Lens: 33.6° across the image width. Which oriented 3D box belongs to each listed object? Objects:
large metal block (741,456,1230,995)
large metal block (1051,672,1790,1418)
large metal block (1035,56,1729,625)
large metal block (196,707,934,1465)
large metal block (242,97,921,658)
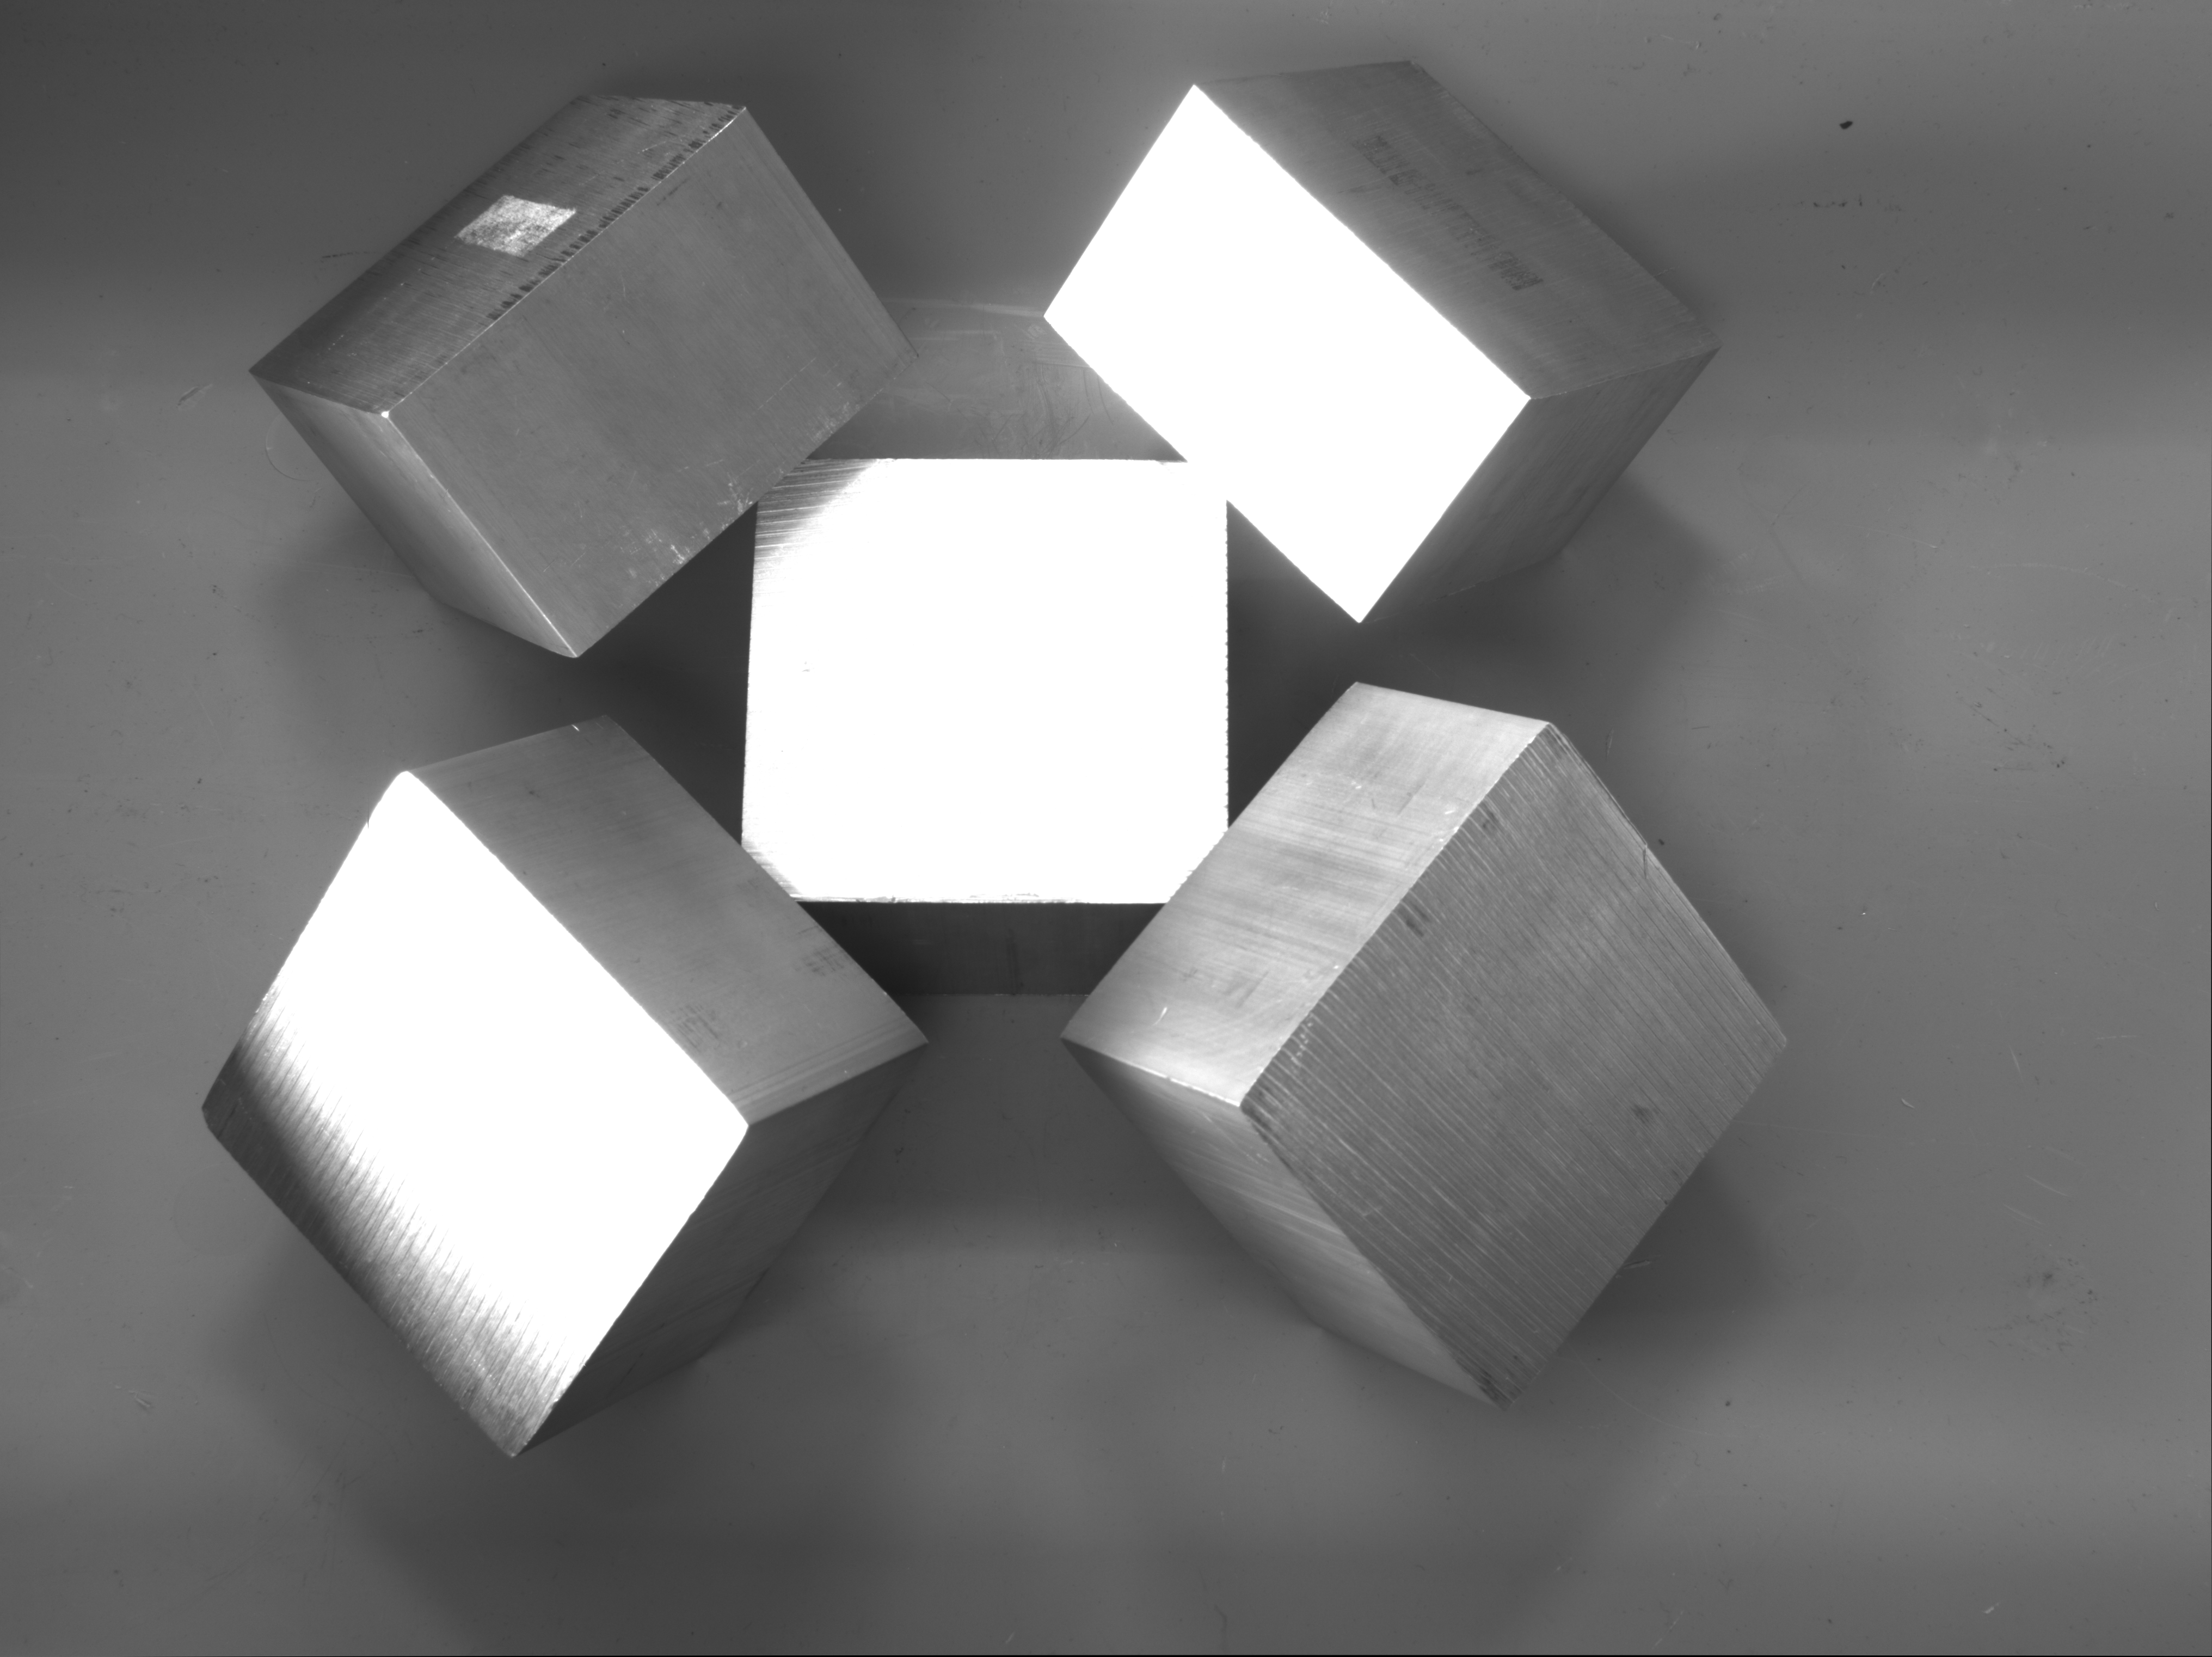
[{"bbox_3d":[-0.019,-0.017,0.635,0.080,0.050,0.080,1,70,0],"label":"large metal block"},{"bbox_3d":[0.052,0.034,0.594,0.080,0.050,0.080,-50,122,-16],"label":"large metal block"},{"bbox_3d":[0.049,-0.088,0.640,0.080,0.050,0.080,45,33,15],"label":"large metal block"},{"bbox_3d":[-0.088,0.041,0.593,0.080,0.050,0.080,44,120,14],"label":"large metal block"},{"bbox_3d":[-0.092,-0.080,0.635,0.080,0.080,0.050,-44,119,-15],"label":"large metal block"}]
